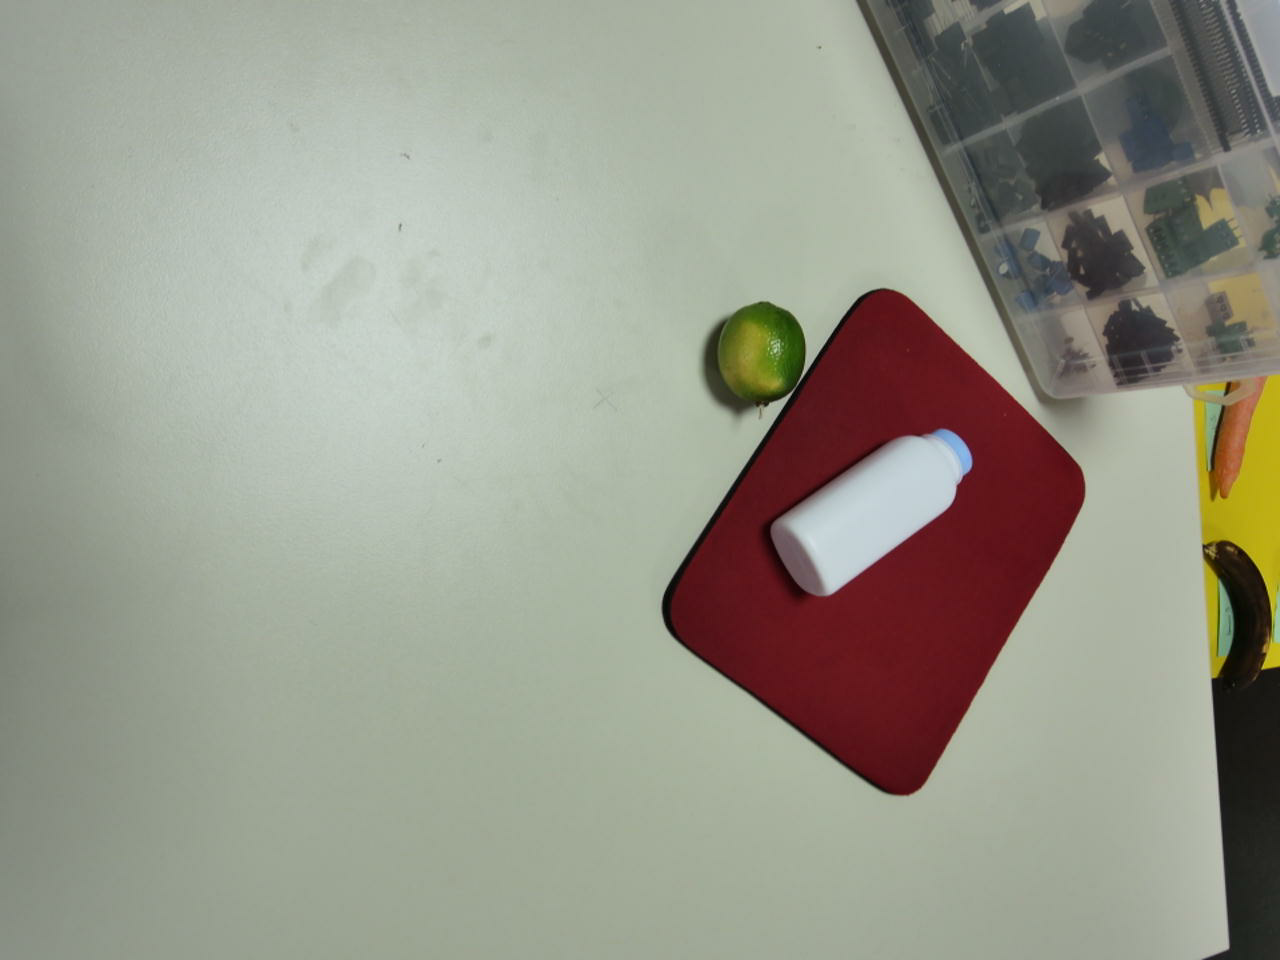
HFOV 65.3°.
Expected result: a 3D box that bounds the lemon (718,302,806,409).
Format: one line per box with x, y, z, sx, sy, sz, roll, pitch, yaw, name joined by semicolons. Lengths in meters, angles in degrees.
0.070;-0.073;0.579;0.055;0.050;0.054;-47;107;-15;lemon
